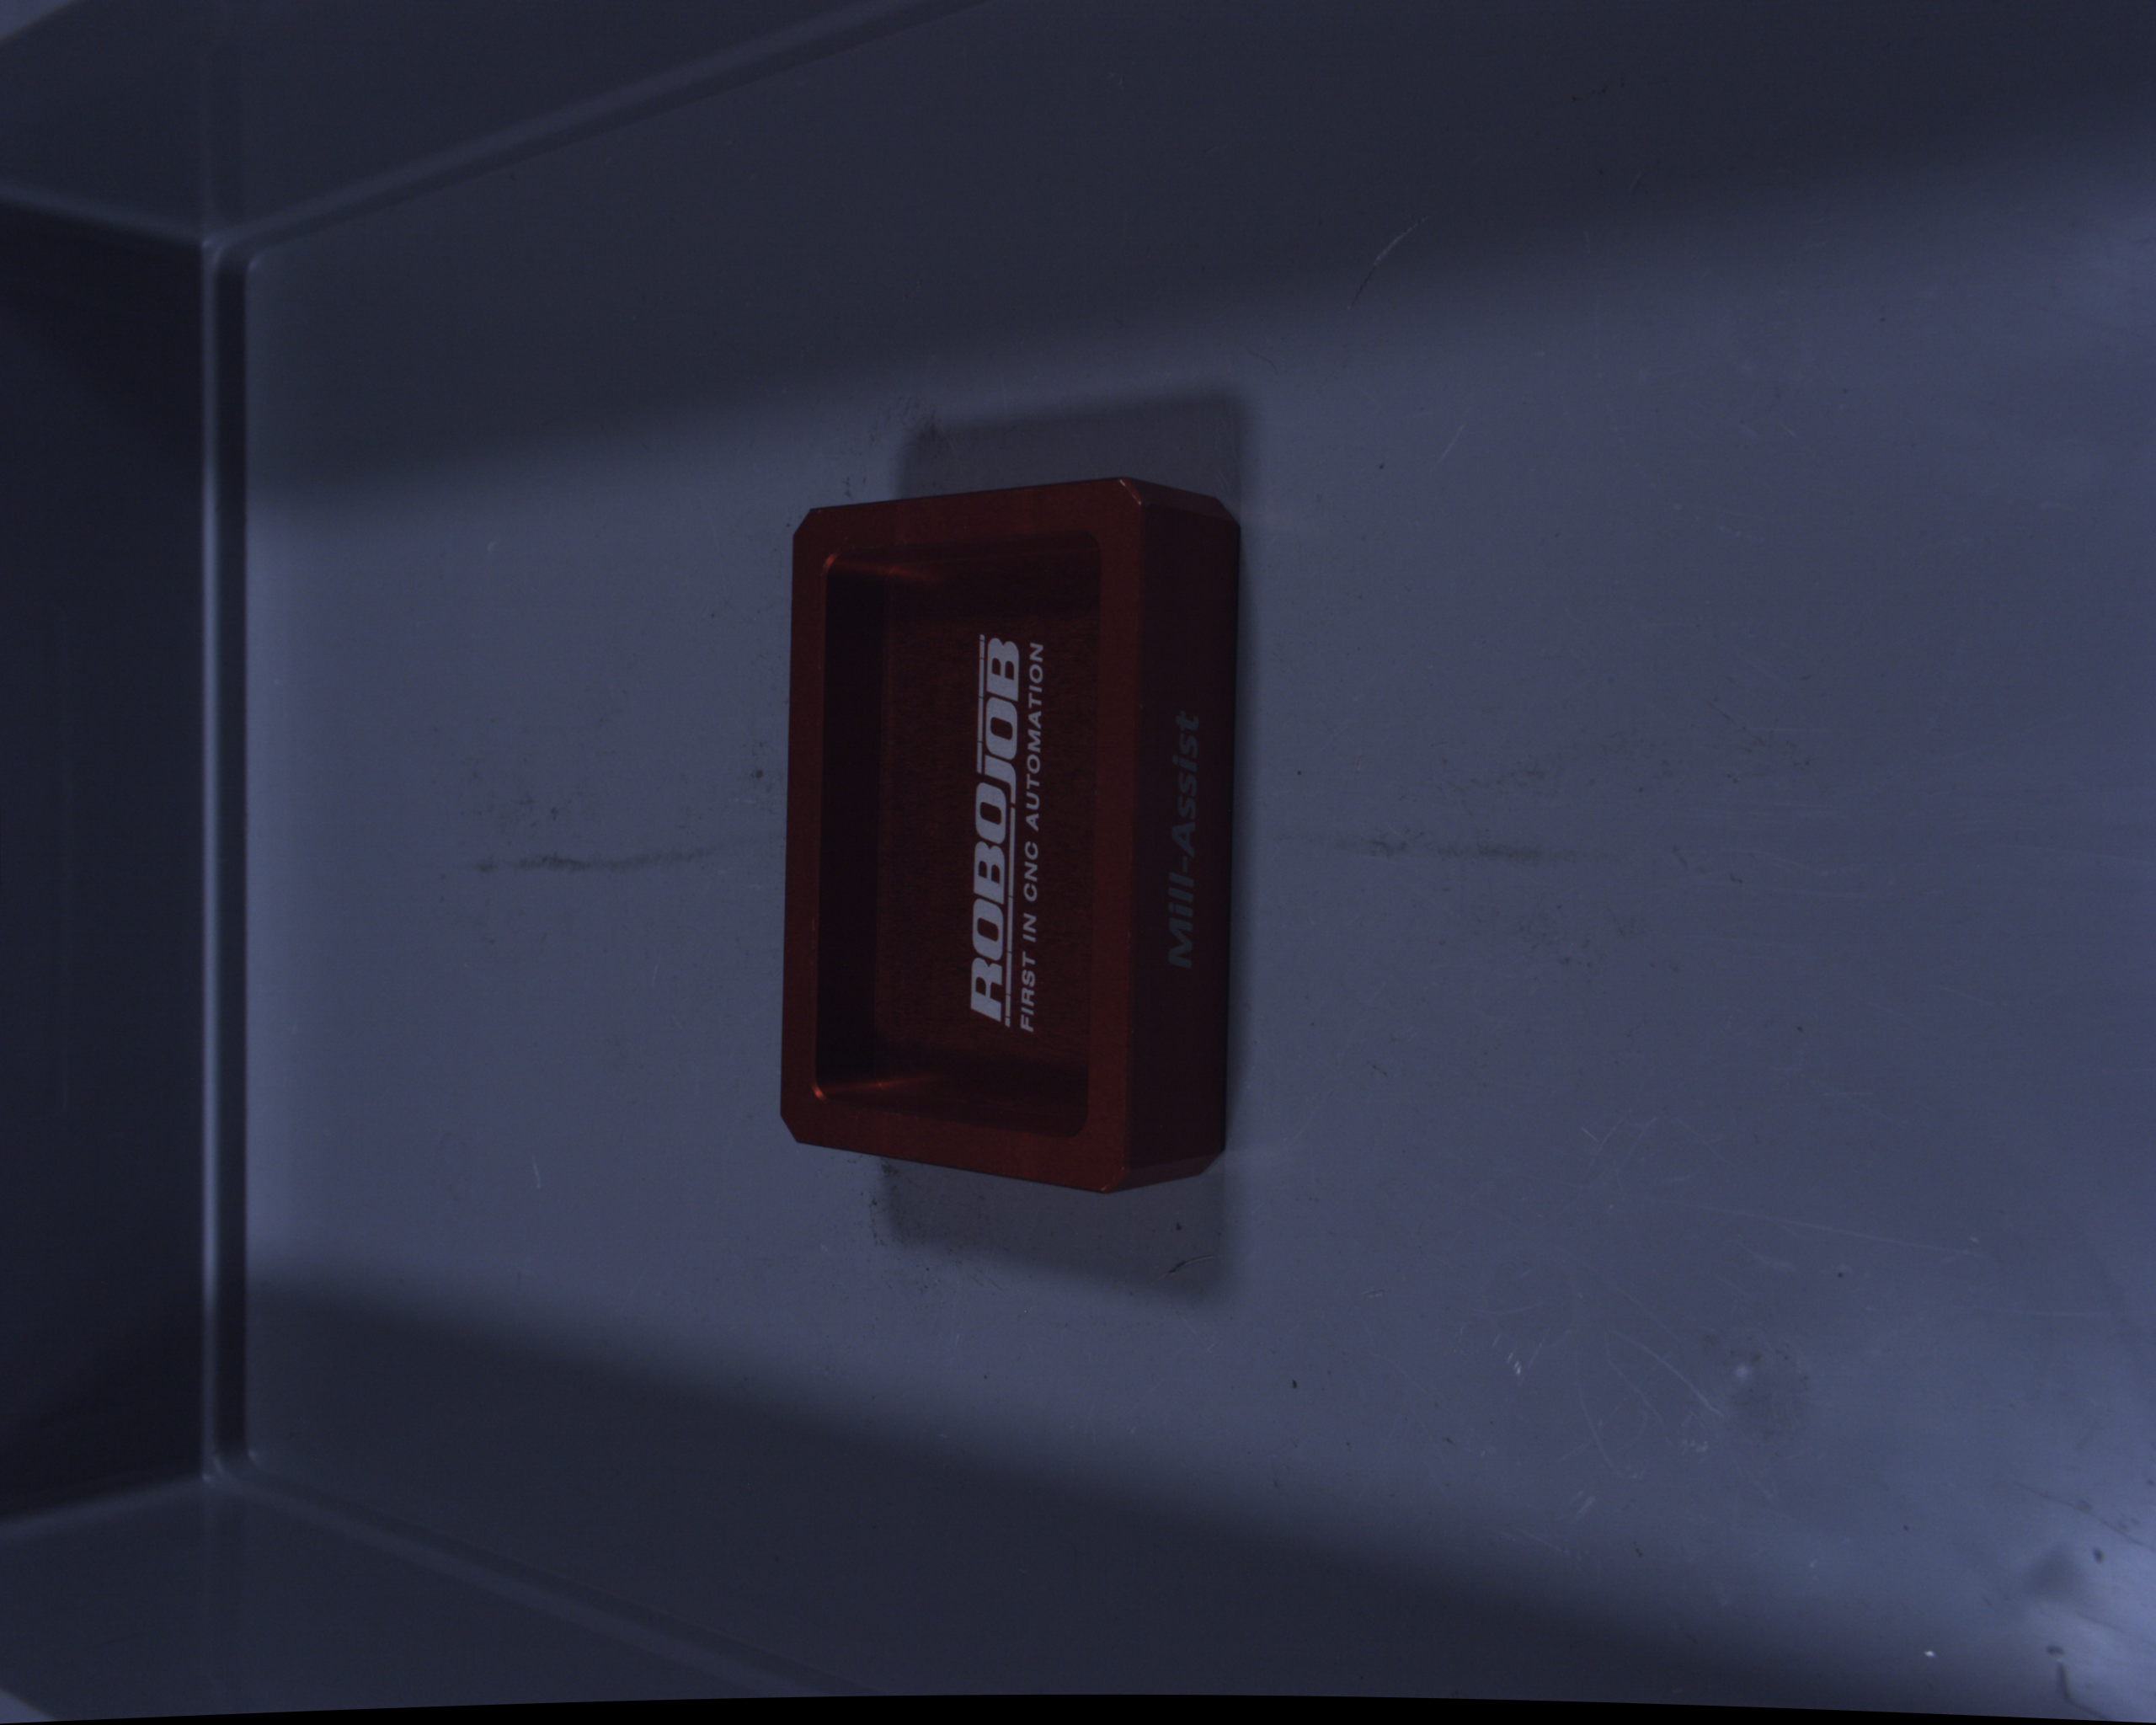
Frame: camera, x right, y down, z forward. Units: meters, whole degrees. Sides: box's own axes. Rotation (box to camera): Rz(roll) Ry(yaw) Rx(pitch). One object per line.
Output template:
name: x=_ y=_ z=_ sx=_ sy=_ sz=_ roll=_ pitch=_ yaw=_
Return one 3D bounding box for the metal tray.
metal tray: x=-0.016 y=-0.006 z=0.411 sx=0.090 sy=0.030 sz=0.129 roll=2 pitch=91 yaw=39
